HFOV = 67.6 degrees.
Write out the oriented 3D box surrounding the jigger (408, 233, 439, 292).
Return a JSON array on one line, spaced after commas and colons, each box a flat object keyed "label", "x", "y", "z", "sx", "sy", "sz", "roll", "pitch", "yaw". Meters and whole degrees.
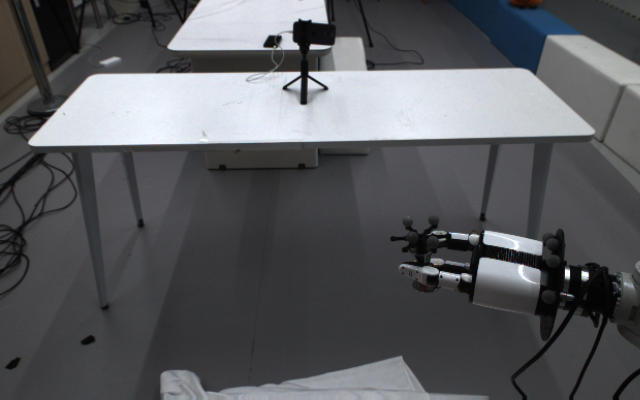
[{"label": "jigger", "x": 0.160, "y": 0.099, "z": 0.744, "sx": 0.043, "sy": 0.071, "sz": 0.043, "roll": -11, "pitch": 23, "yaw": 5}]
